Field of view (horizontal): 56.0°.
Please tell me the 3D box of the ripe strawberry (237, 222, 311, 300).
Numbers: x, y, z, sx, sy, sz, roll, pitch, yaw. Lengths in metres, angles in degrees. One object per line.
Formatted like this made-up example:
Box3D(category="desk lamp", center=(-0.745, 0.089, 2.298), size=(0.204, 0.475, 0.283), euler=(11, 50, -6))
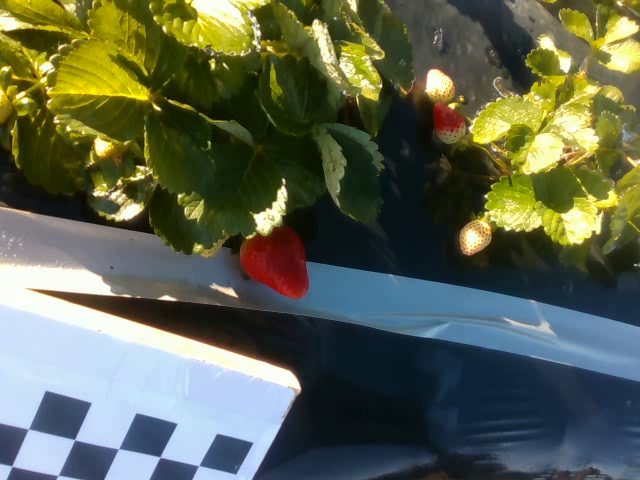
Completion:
Box3D(category="ripe strawberry", center=(-0.027, 0.015, 0.375), size=(0.045, 0.064, 0.049), euler=(-39, -35, 3))
